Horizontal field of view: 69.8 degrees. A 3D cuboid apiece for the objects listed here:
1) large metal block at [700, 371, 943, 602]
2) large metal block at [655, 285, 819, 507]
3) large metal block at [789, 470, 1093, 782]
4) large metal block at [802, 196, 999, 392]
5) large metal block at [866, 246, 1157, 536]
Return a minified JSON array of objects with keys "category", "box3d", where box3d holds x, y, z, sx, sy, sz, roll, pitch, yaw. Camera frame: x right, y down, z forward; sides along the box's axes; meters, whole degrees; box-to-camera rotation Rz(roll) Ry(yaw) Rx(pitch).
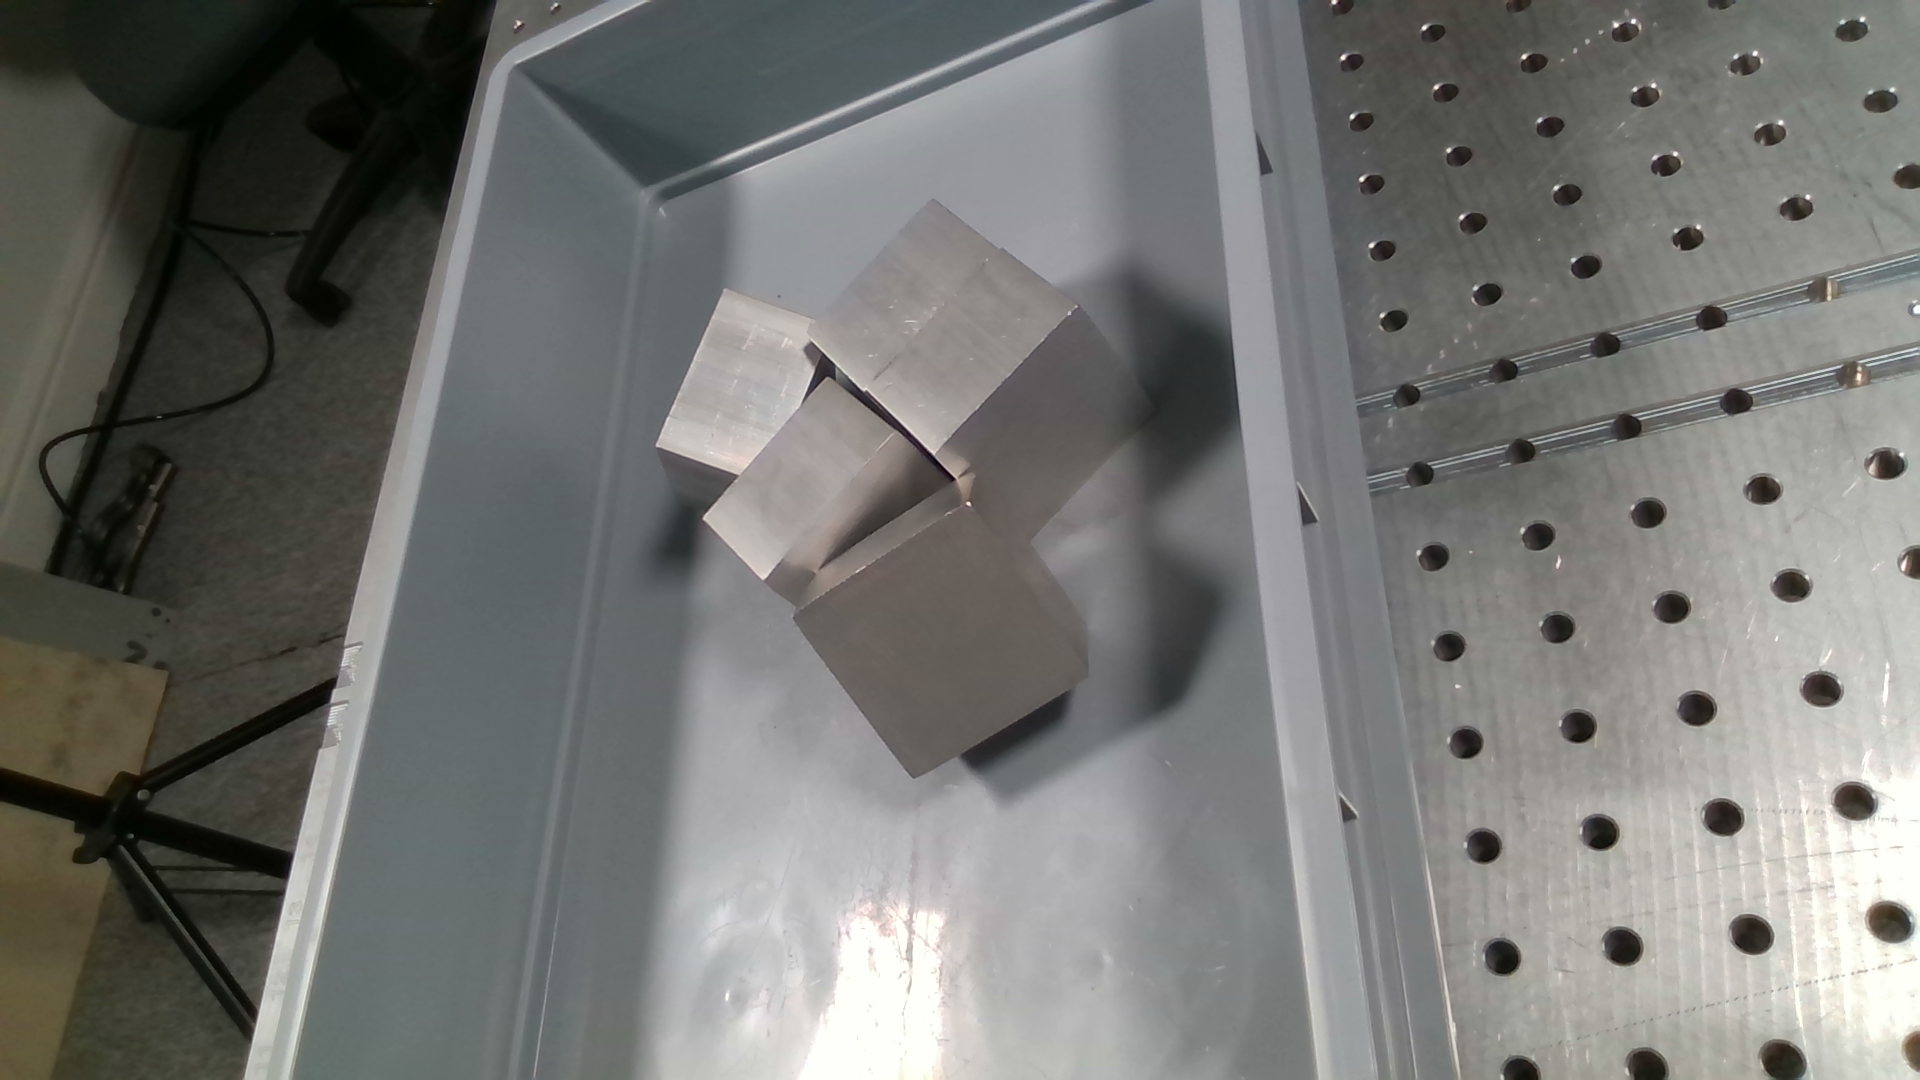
[{"category":"large metal block","box3d":[-0.047,-0.010,0.582,0.080,0.080,0.050,-49,51,0]},{"category":"large metal block","box3d":[-0.095,-0.056,0.628,0.050,0.080,0.080,20,74,1]},{"category":"large metal block","box3d":[-0.005,0.031,0.527,0.080,0.080,0.050,-32,13,13]},{"category":"large metal block","box3d":[-0.007,-0.086,0.599,0.080,0.080,0.050,-46,51,3]},{"category":"large metal block","box3d":[0.023,-0.058,0.565,0.080,0.080,0.050,-47,51,2]}]
